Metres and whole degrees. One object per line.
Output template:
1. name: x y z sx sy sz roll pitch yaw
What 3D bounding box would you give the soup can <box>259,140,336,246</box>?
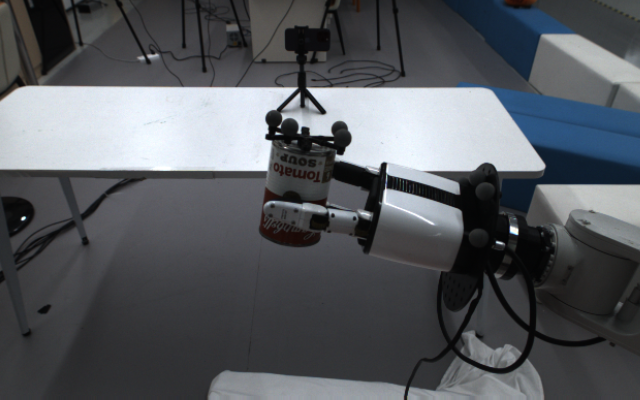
1. soup can: -0.022 -0.012 0.508 0.067 0.101 0.067 9 20 -3
